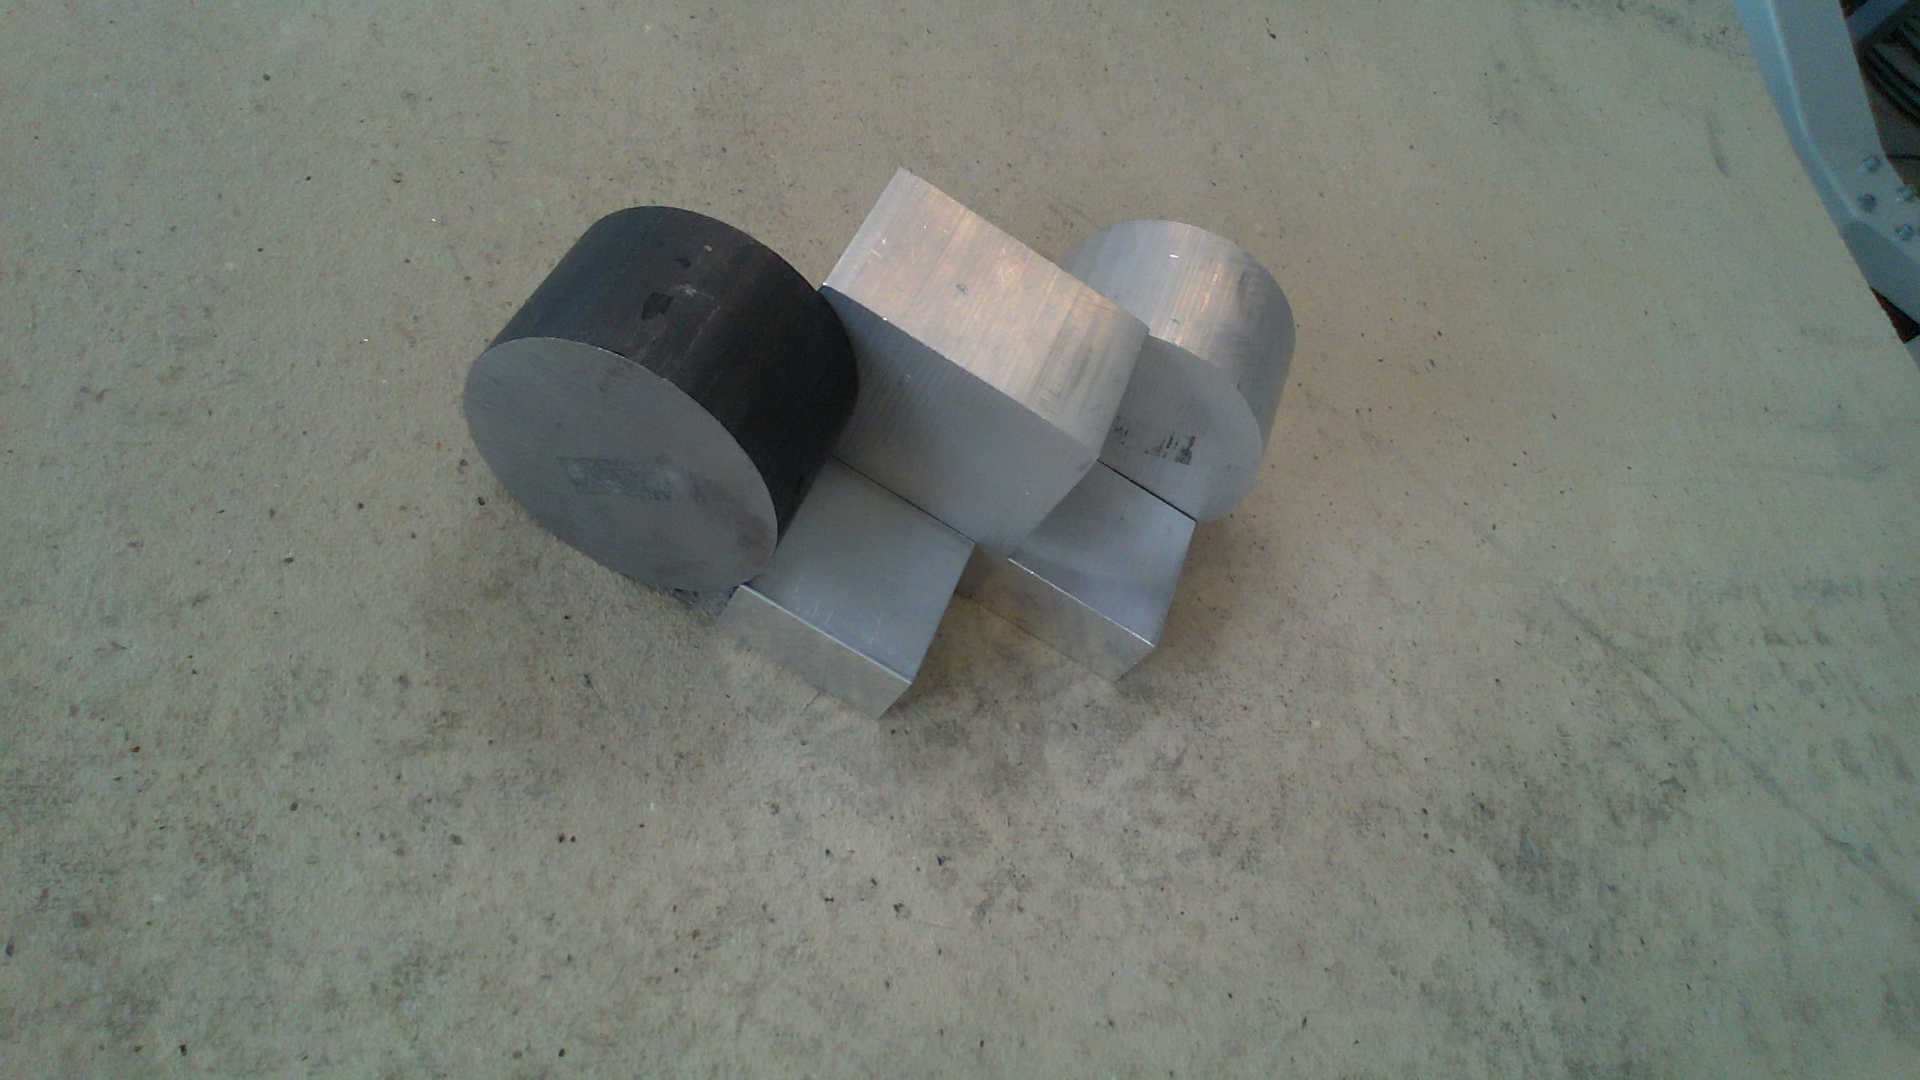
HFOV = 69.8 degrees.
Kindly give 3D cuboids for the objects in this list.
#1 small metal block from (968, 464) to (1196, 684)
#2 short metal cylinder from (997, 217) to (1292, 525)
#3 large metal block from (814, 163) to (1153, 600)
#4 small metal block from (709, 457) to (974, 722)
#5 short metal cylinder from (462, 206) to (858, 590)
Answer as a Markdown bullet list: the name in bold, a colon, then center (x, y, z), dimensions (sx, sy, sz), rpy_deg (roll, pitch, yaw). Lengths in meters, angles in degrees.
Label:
- **small metal block**: center (0.037, 0.006, 0.407), dimensions (0.050, 0.025, 0.050), rpy_deg (31, 52, -8)
- **short metal cylinder**: center (0.056, -0.049, 0.415), dimensions (0.080, 0.080, 0.050), rpy_deg (31, 52, -8)
- **large metal block**: center (-0.007, -0.040, 0.376), dimensions (0.080, 0.080, 0.050), rpy_deg (31, 51, -9)
- **small metal block**: center (-0.031, 0.012, 0.367), dimensions (0.050, 0.025, 0.050), rpy_deg (31, 52, -8)
- **short metal cylinder**: center (-0.072, -0.033, 0.337), dimensions (0.080, 0.080, 0.050), rpy_deg (31, 52, -8)
